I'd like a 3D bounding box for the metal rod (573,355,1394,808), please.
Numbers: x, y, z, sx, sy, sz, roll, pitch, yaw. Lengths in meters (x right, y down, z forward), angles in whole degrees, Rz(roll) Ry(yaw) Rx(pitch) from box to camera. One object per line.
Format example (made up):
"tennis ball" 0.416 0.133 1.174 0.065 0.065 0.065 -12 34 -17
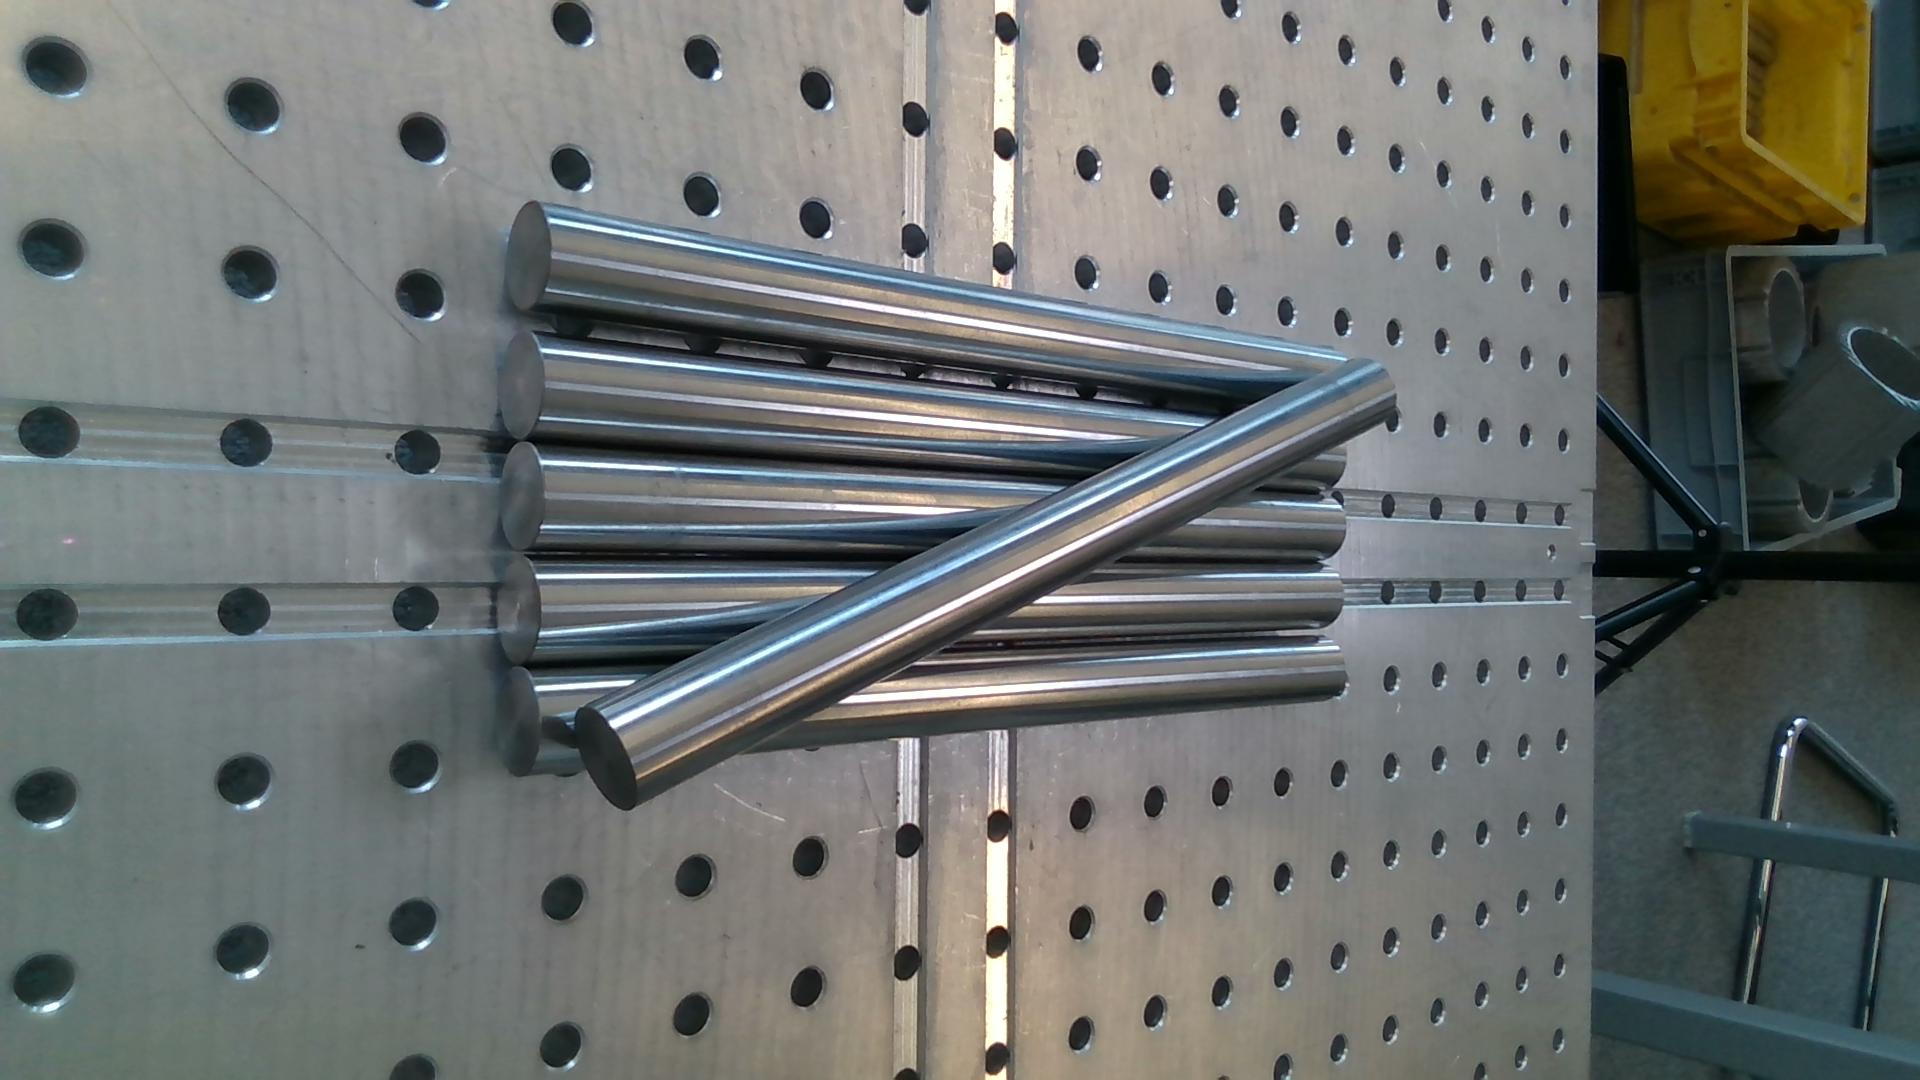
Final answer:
"metal rod" 0.032 -0.003 0.388 0.300 0.025 0.025 -24 105 -38

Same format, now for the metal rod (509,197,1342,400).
"metal rod" 0.018 -0.062 0.407 0.300 0.025 0.025 1 89 -40

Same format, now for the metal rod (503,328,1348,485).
"metal rod" 0.017 -0.033 0.407 0.300 0.025 0.025 1 89 -40

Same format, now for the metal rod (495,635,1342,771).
"metal rod" 0.015 0.043 0.407 0.300 0.025 0.025 2 89 -40

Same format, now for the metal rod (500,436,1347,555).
"metal rod" 0.016 -0.009 0.406 0.300 0.025 0.025 1 89 -40

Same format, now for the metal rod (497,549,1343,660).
"metal rod" 0.015 0.017 0.407 0.300 0.025 0.025 1 89 -40
